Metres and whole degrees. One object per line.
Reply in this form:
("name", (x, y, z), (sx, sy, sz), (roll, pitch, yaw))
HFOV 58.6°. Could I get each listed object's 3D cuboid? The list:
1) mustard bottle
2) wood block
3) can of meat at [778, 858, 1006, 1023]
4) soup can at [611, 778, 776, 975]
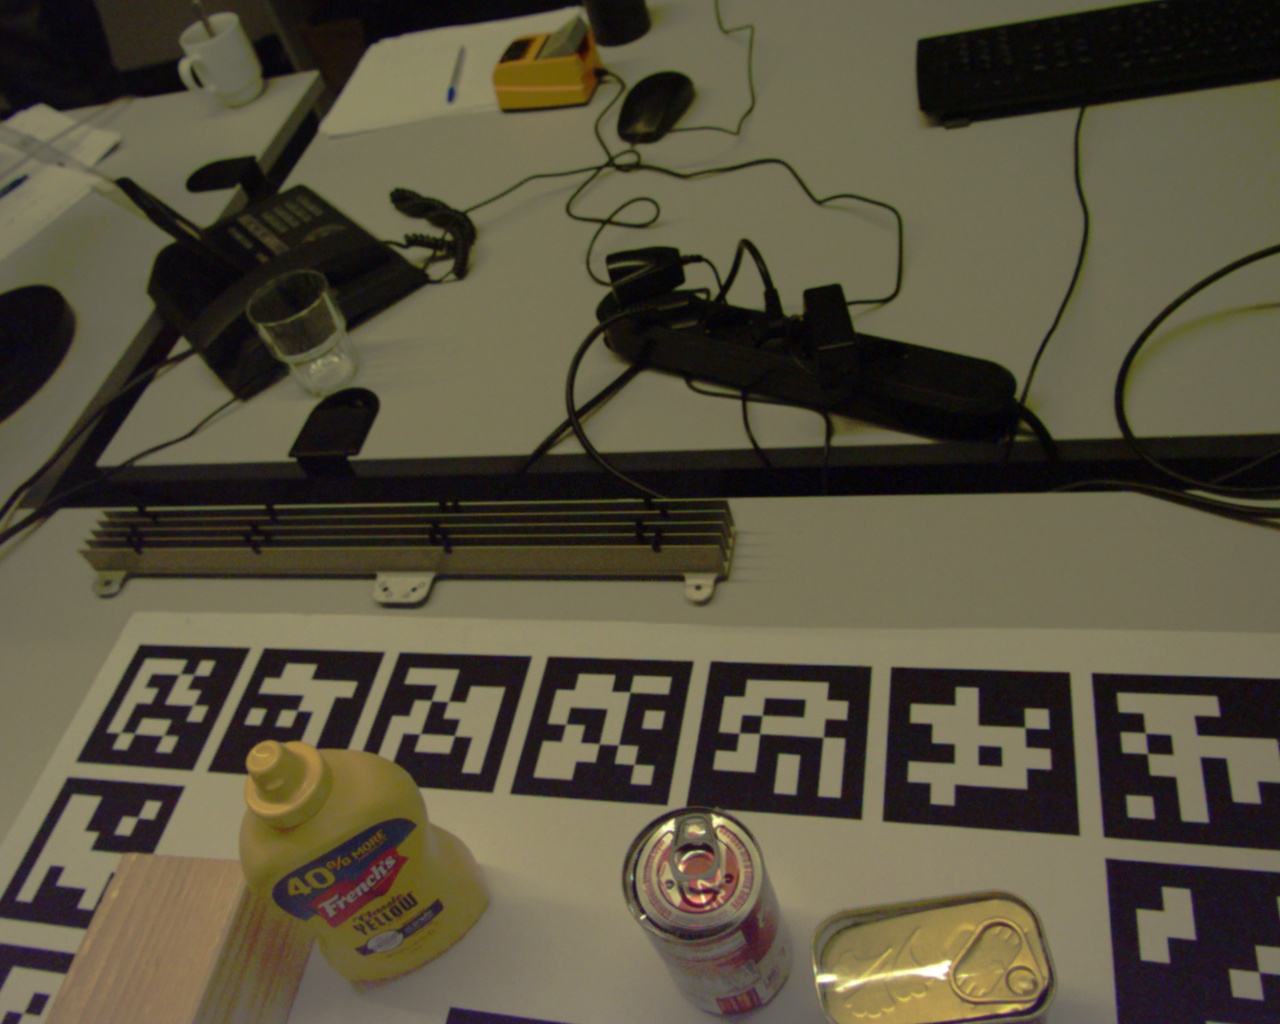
("mustard bottle", (-0.164, 0.182, 0.631), (0.096, 0.190, 0.059), (-19, 46, -1))
("wood block", (-0.265, 0.294, 0.629), (0.092, 0.089, 0.206), (0, 46, 17))
("can of meat", (0.124, 0.220, 0.565), (0.102, 0.083, 0.058), (-11, 48, 7))
("soup can", (0.031, 0.193, 0.596), (0.068, 0.101, 0.068), (-10, 49, 11))
